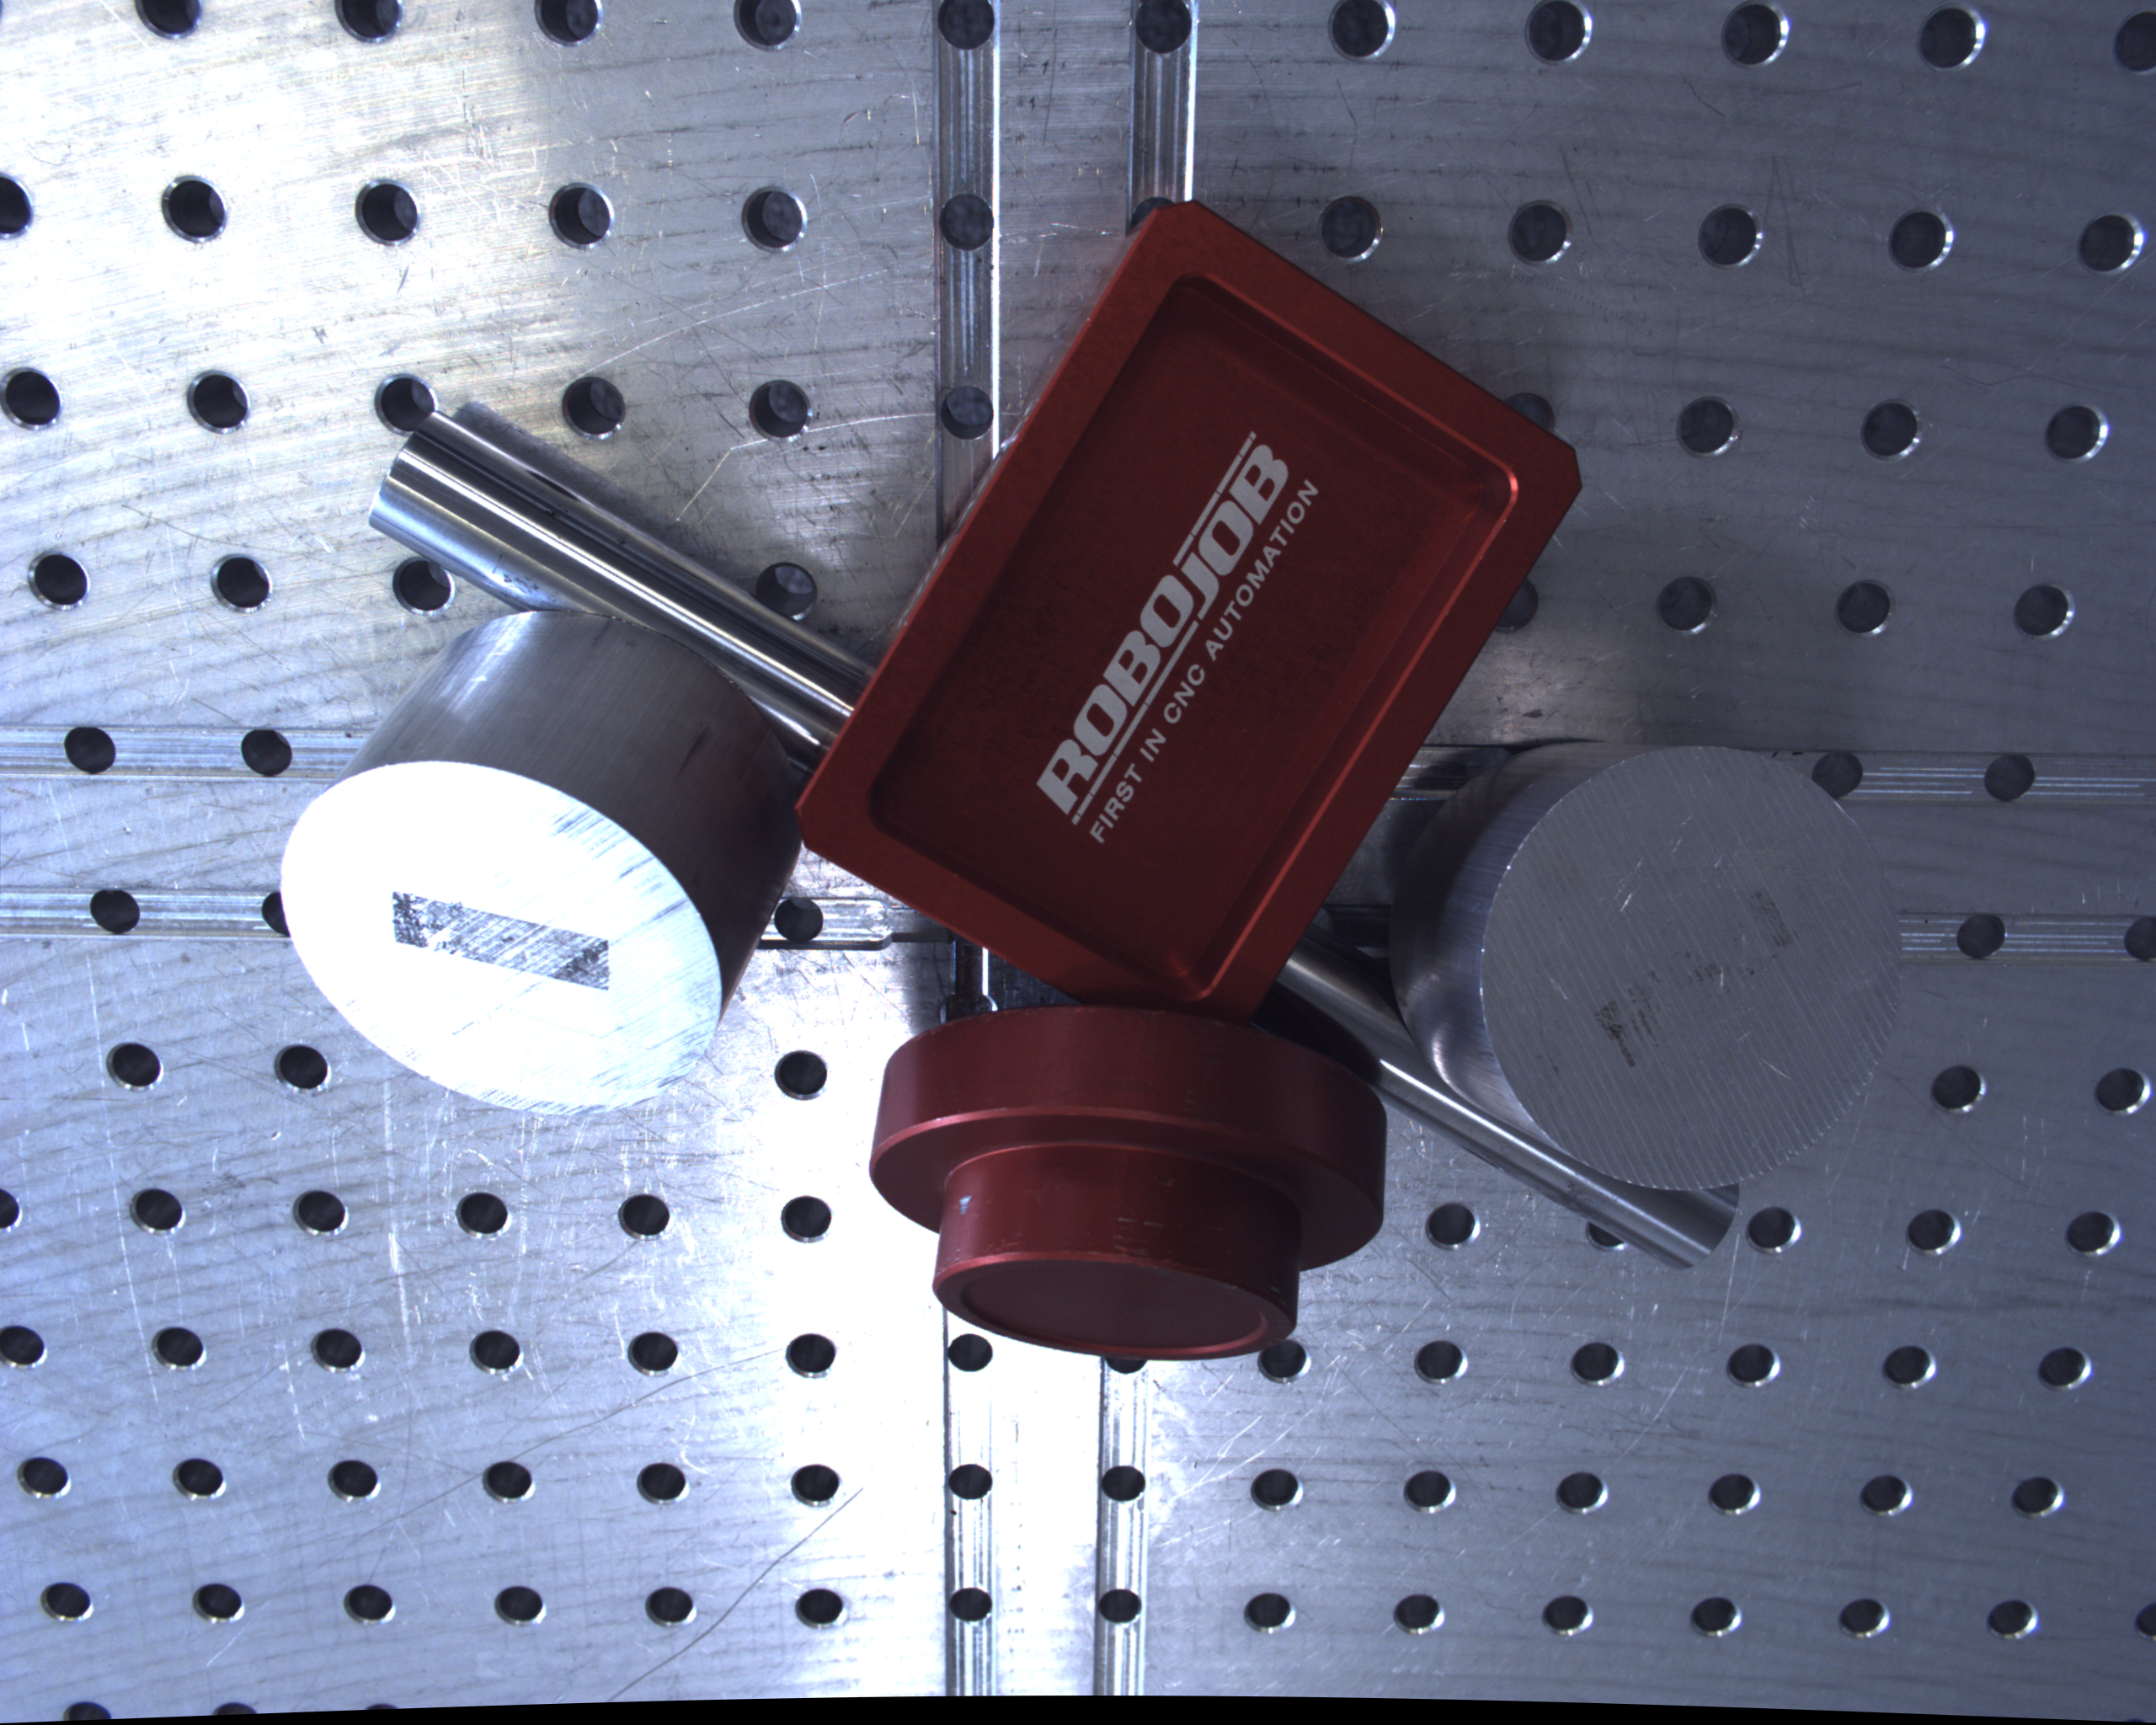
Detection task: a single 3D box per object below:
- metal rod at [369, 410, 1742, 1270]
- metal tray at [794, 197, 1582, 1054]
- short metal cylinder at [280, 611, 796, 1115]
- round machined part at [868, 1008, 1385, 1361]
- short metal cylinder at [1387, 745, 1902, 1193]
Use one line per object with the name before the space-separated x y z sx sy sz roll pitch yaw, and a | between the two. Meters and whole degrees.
metal rod | 0.004 0.001 0.414 0.301 0.025 0.025 30 107 -11
metal tray | 0.019 -0.040 0.380 0.090 0.030 0.130 30 94 -11
short metal cylinder | -0.097 0.000 0.387 0.080 0.050 0.079 6 127 8
round machined part | 0.009 0.066 0.400 0.099 0.042 0.098 5 153 3
short metal cylinder | 0.105 0.018 0.395 0.081 0.050 0.079 -1 93 -11
